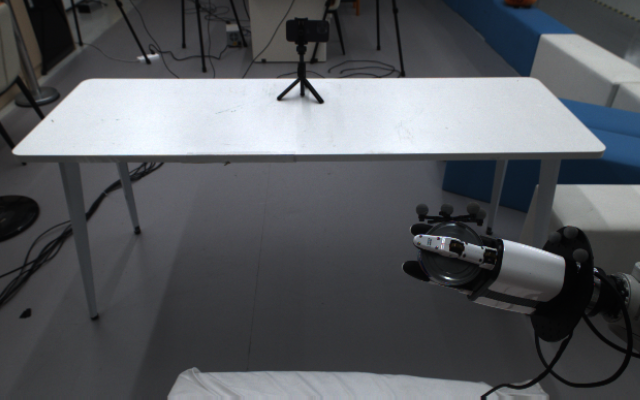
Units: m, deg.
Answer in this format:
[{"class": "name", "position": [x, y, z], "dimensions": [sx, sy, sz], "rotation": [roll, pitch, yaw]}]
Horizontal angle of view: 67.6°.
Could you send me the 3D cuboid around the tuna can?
[{"class": "tuna can", "position": [0.180, 0.071, 0.660], "dimensions": [0.085, 0.034, 0.085], "rotation": [0, 77, 1]}]
